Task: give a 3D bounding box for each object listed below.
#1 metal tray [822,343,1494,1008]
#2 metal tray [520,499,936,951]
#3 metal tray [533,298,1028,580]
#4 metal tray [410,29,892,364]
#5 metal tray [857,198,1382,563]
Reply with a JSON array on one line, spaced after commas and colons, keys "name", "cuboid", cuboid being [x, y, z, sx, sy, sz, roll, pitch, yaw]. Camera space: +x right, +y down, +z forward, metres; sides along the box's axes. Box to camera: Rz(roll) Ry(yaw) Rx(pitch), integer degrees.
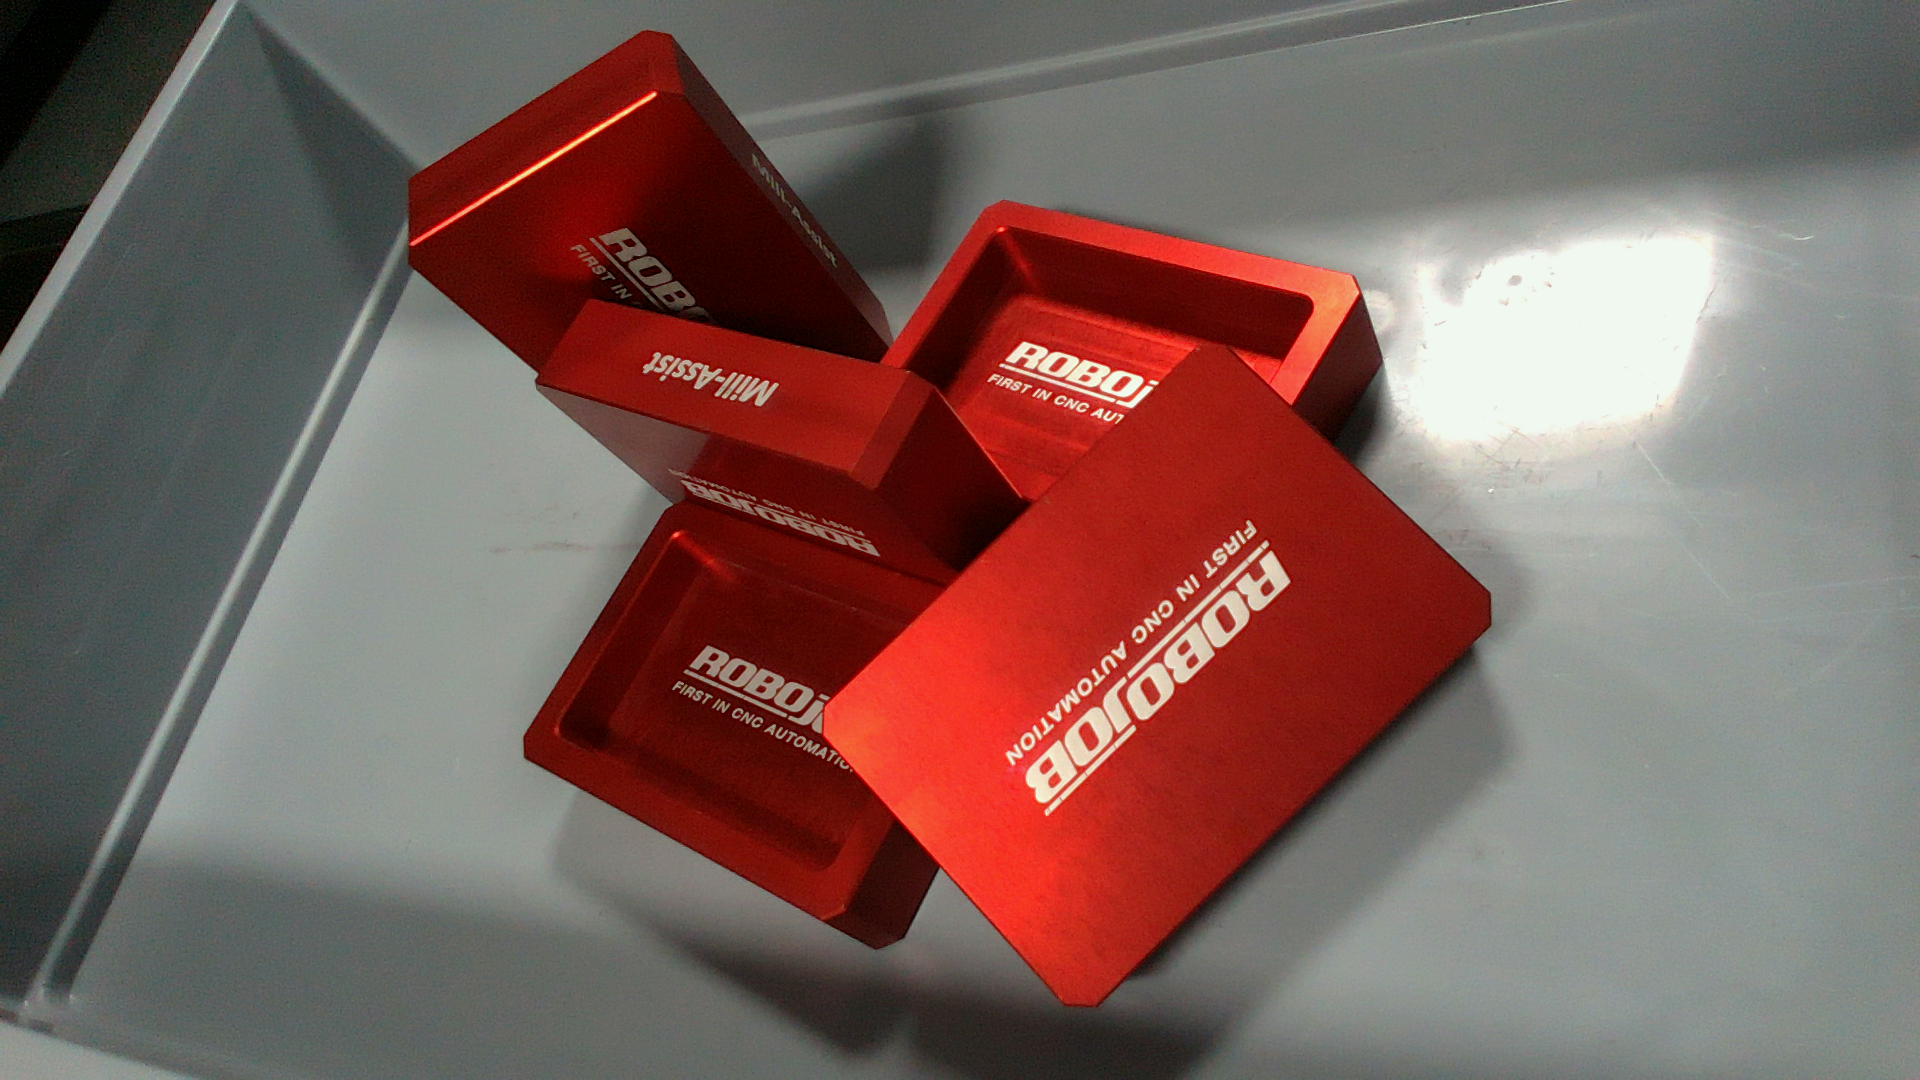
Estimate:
[{"name": "metal tray", "cuboid": [0.044, 0.030, 0.321, 0.130, 0.030, 0.090, -44, 79, -2]}, {"name": "metal tray", "cuboid": [-0.054, 0.046, 0.388, 0.129, 0.030, 0.090, 17, 71, 35]}, {"name": "metal tray", "cuboid": [-0.046, -0.021, 0.387, 0.129, 0.090, 0.030, 17, 71, 35]}, {"name": "metal tray", "cuboid": [-0.088, -0.078, 0.419, 0.090, 0.130, 0.030, -27, 52, 12]}, {"name": "metal tray", "cuboid": [0.040, -0.044, 0.394, 0.130, 0.030, 0.090, 23, 74, 37]}]
